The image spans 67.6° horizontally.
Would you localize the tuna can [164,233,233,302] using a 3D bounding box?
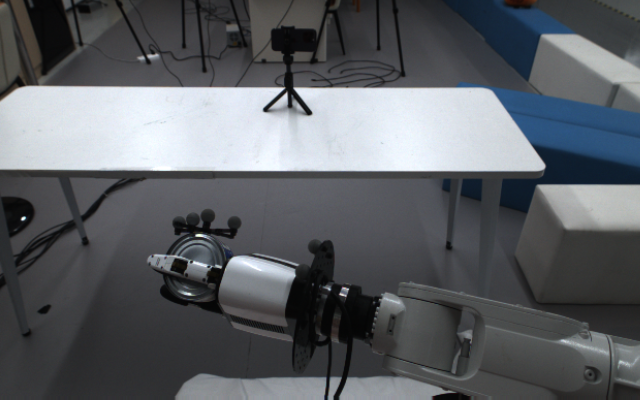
[{"bbox_3d":[-0.150,0.086,0.612,0.085,0.034,0.085,-5,72,14],"label":"tuna can"}]
